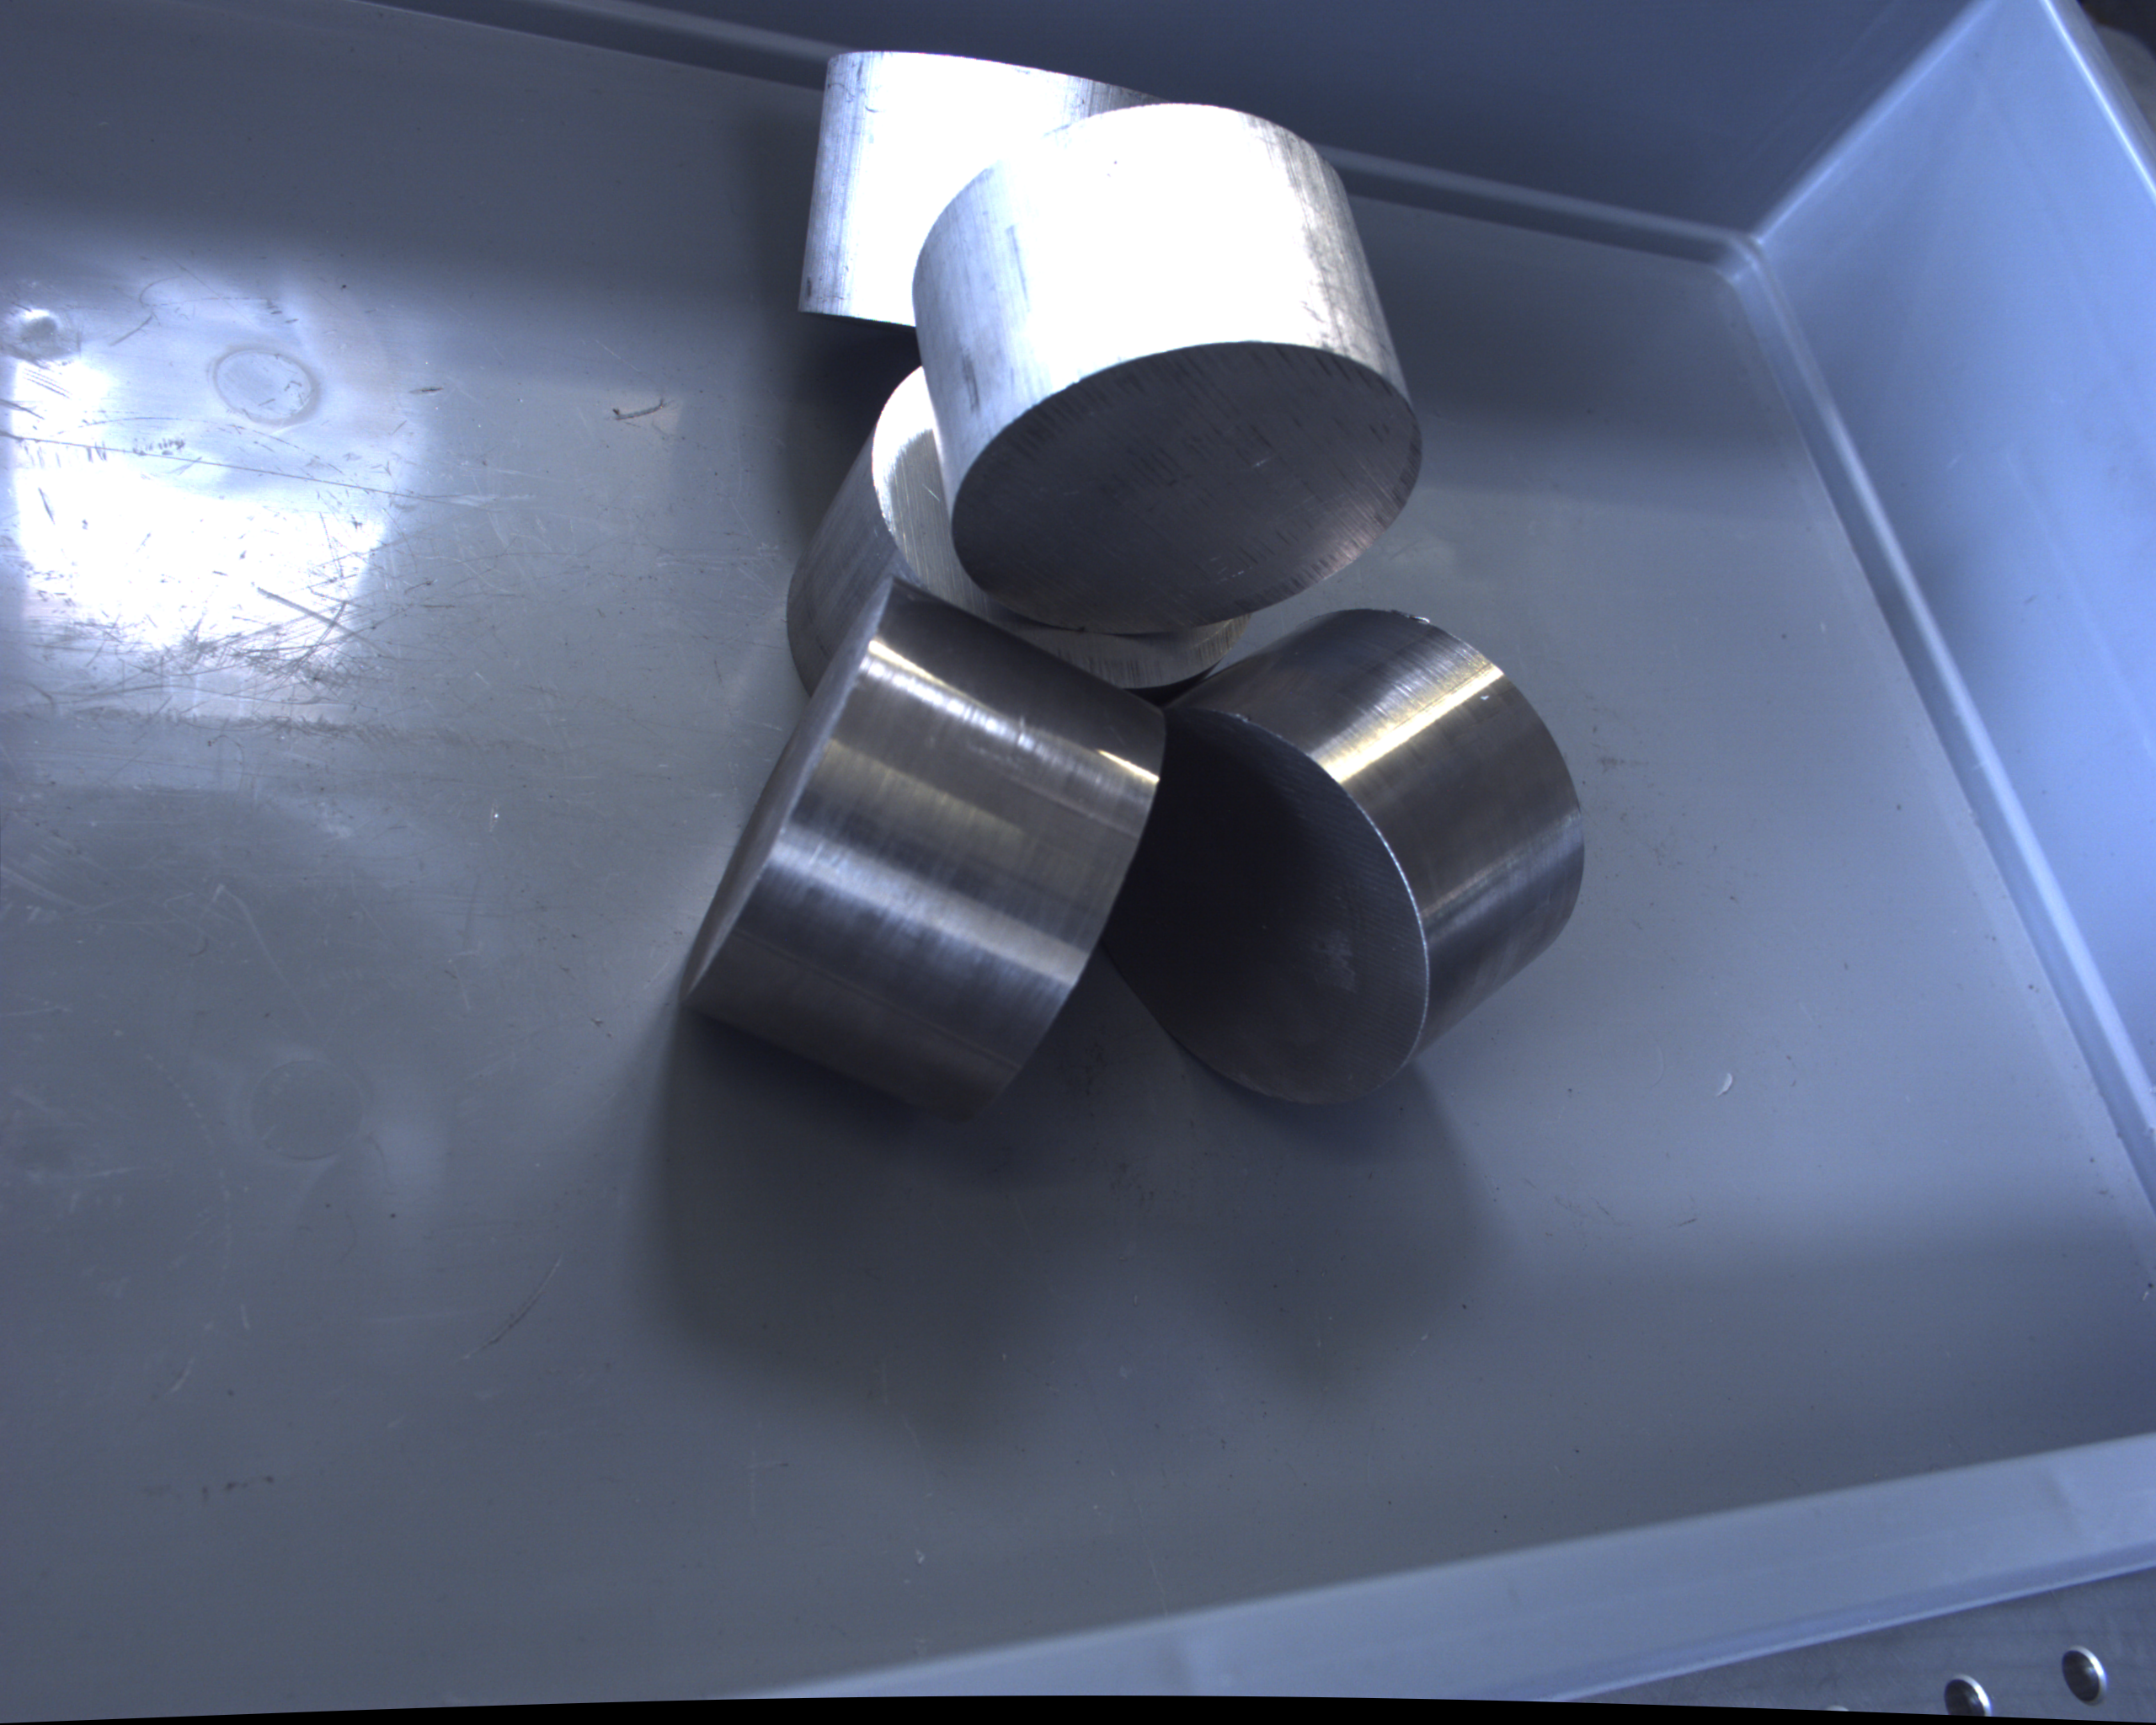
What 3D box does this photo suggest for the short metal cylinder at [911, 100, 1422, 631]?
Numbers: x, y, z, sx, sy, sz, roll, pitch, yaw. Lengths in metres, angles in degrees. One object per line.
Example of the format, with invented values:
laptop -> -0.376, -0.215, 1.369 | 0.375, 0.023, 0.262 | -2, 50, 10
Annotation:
short metal cylinder -> 0.014, -0.083, 0.362 | 0.081, 0.080, 0.050 | 3, 61, -27

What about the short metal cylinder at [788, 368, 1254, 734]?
short metal cylinder -> -0.011, -0.056, 0.414 | 0.081, 0.050, 0.080 | 14, 56, -21

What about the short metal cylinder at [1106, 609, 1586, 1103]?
short metal cylinder -> 0.047, -0.002, 0.395 | 0.050, 0.080, 0.080 | -33, 80, -37

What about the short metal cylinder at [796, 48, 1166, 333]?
short metal cylinder -> -0.015, -0.133, 0.433 | 0.081, 0.080, 0.050 | 4, 103, -26

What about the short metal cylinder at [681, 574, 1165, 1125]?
short metal cylinder -> -0.027, -0.002, 0.355 | 0.050, 0.080, 0.080 | 26, 53, -12
